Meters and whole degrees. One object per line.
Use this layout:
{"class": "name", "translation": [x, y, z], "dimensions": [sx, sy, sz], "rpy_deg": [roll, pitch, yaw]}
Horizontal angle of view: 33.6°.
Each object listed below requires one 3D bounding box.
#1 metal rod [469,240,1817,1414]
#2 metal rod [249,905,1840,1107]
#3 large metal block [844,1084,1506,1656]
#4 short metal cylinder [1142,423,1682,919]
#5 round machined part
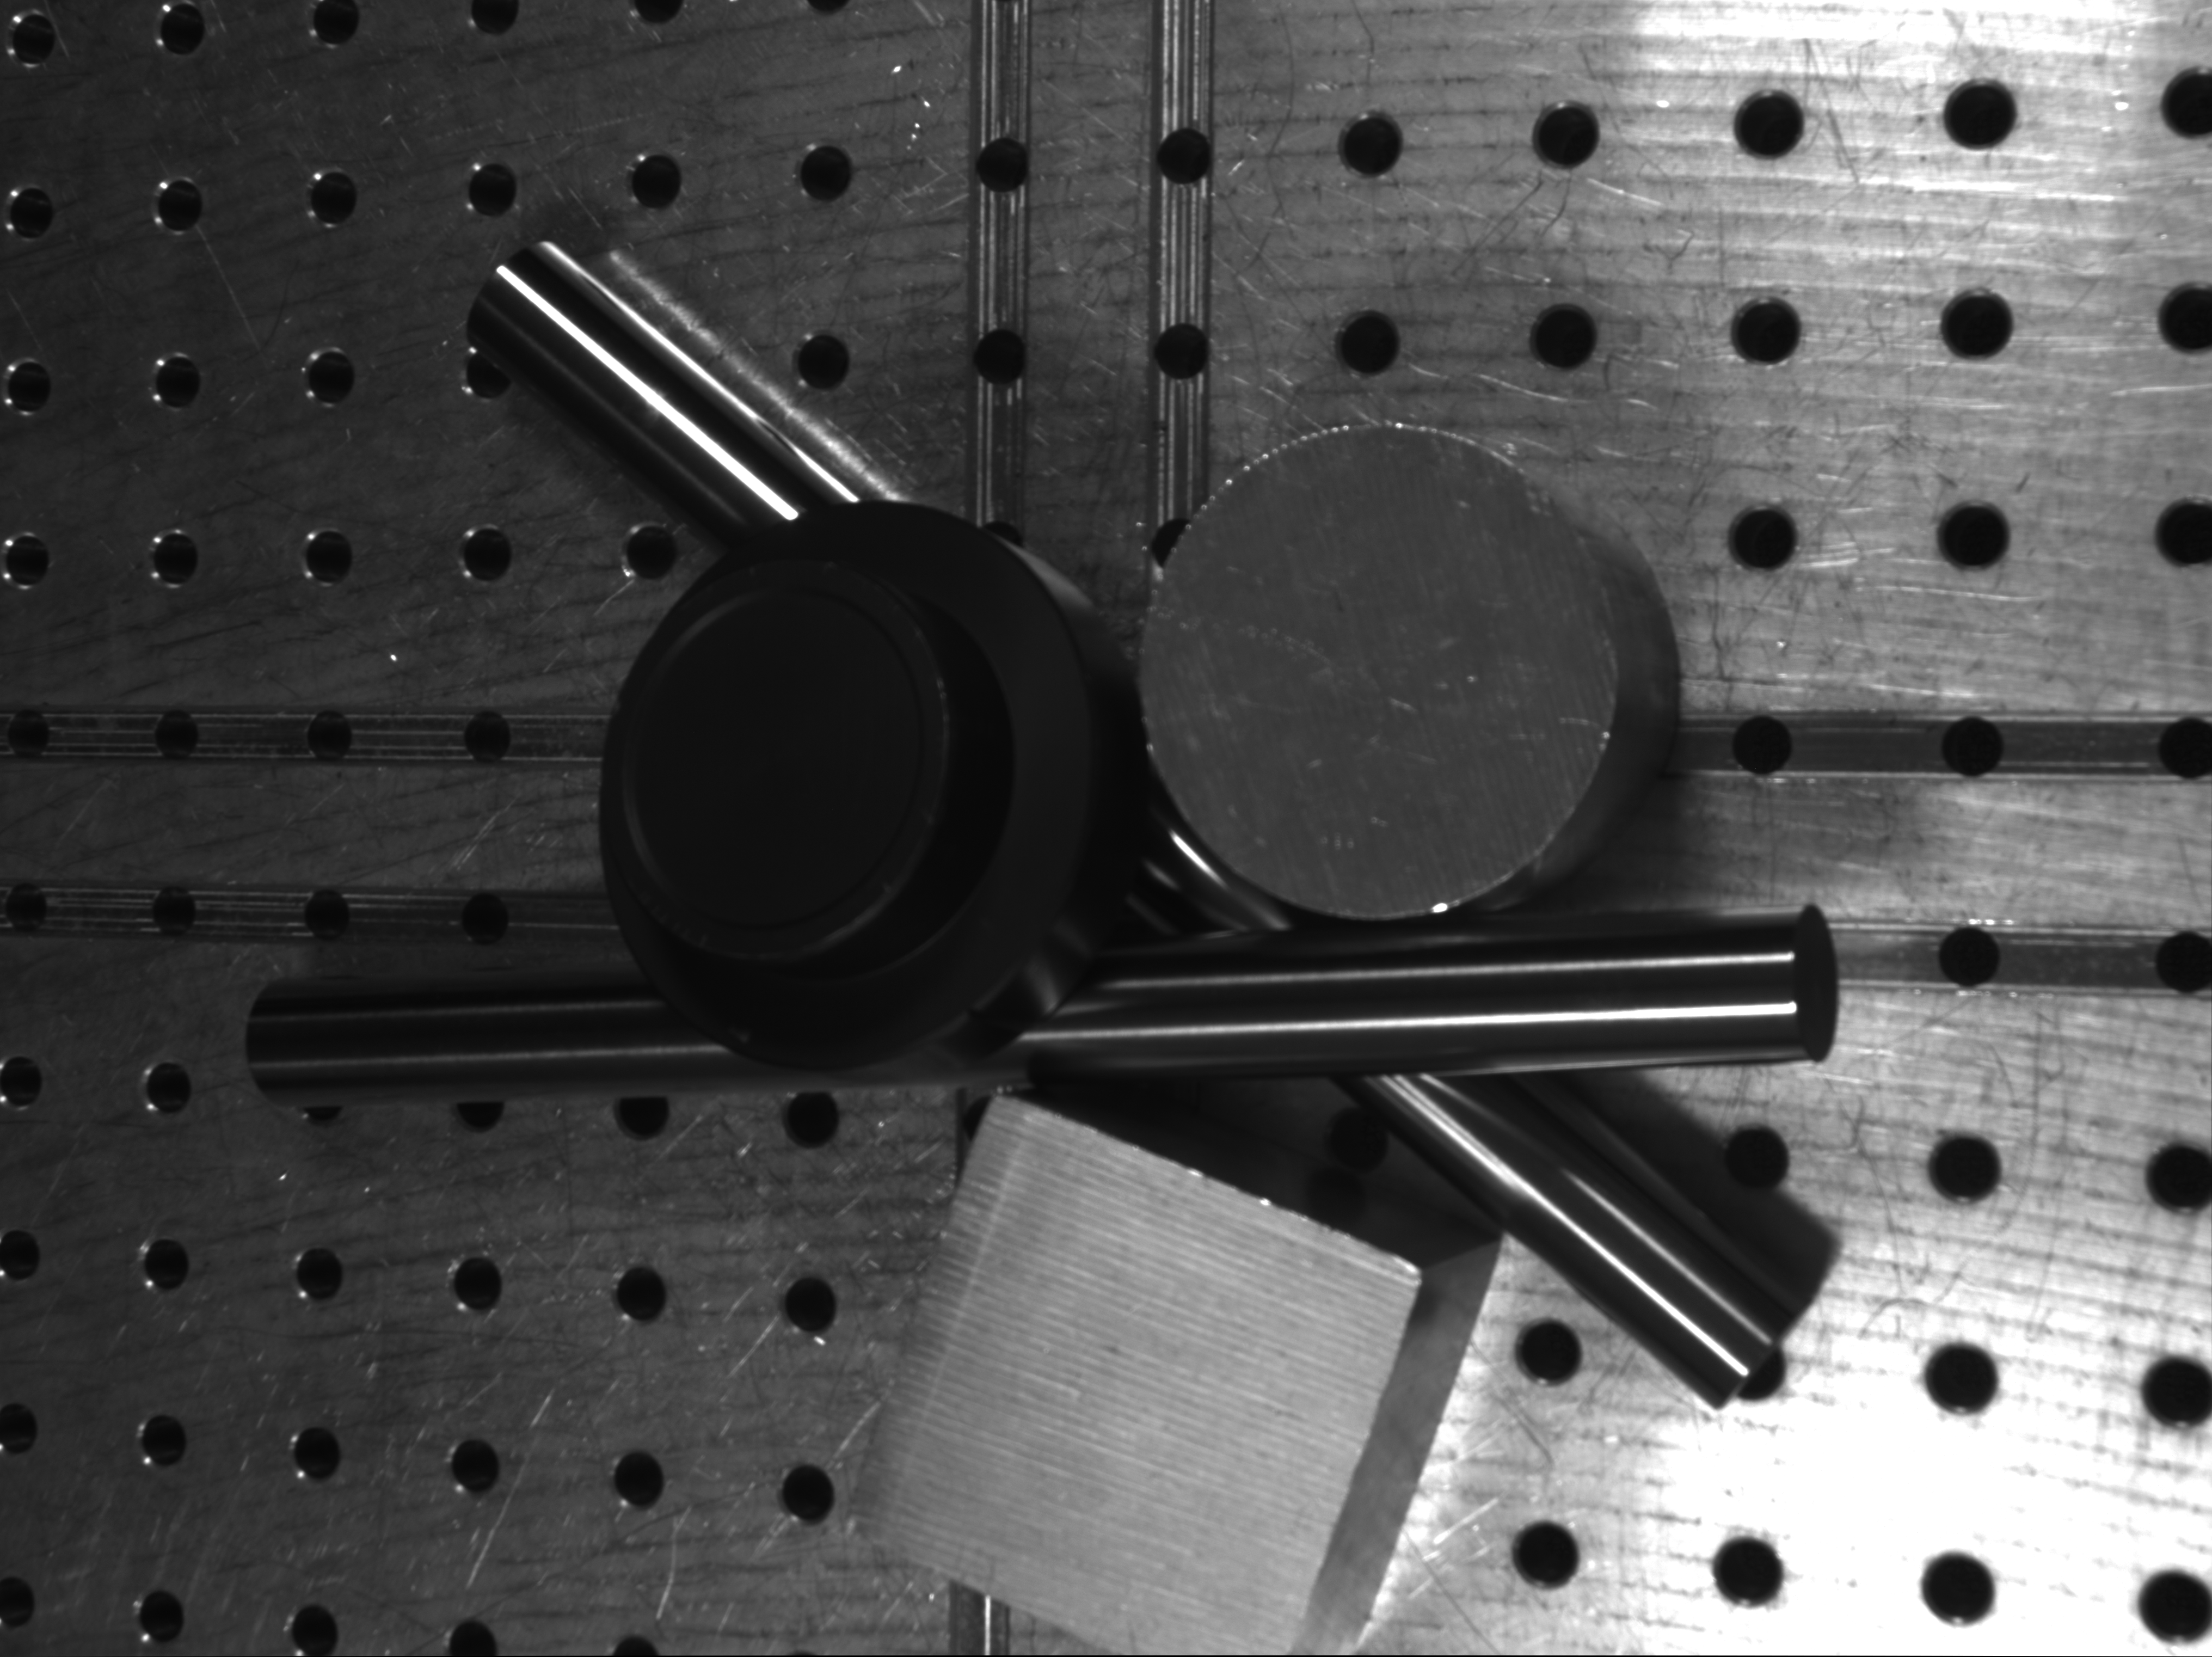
{"class": "metal rod", "translation": [0.000, -0.006, 0.647], "dimensions": [0.300, 0.025, 0.025], "rpy_deg": [40, 103, 15]}
{"class": "metal rod", "translation": [-0.023, 0.033, 0.635], "dimensions": [0.299, 0.025, 0.025], "rpy_deg": [-4, 89, 27]}
{"class": "large metal block", "translation": [0.012, 0.094, 0.627], "dimensions": [0.080, 0.050, 0.080], "rpy_deg": [21, 97, 18]}
{"class": "short metal cylinder", "translation": [0.052, -0.025, 0.614], "dimensions": [0.080, 0.050, 0.080], "rpy_deg": [0, 90, 20]}
{"class": "round machined part", "translation": [-0.045, -0.008, 0.618], "dimensions": [0.098, 0.042, 0.098], "rpy_deg": [-5, 79, 25]}
